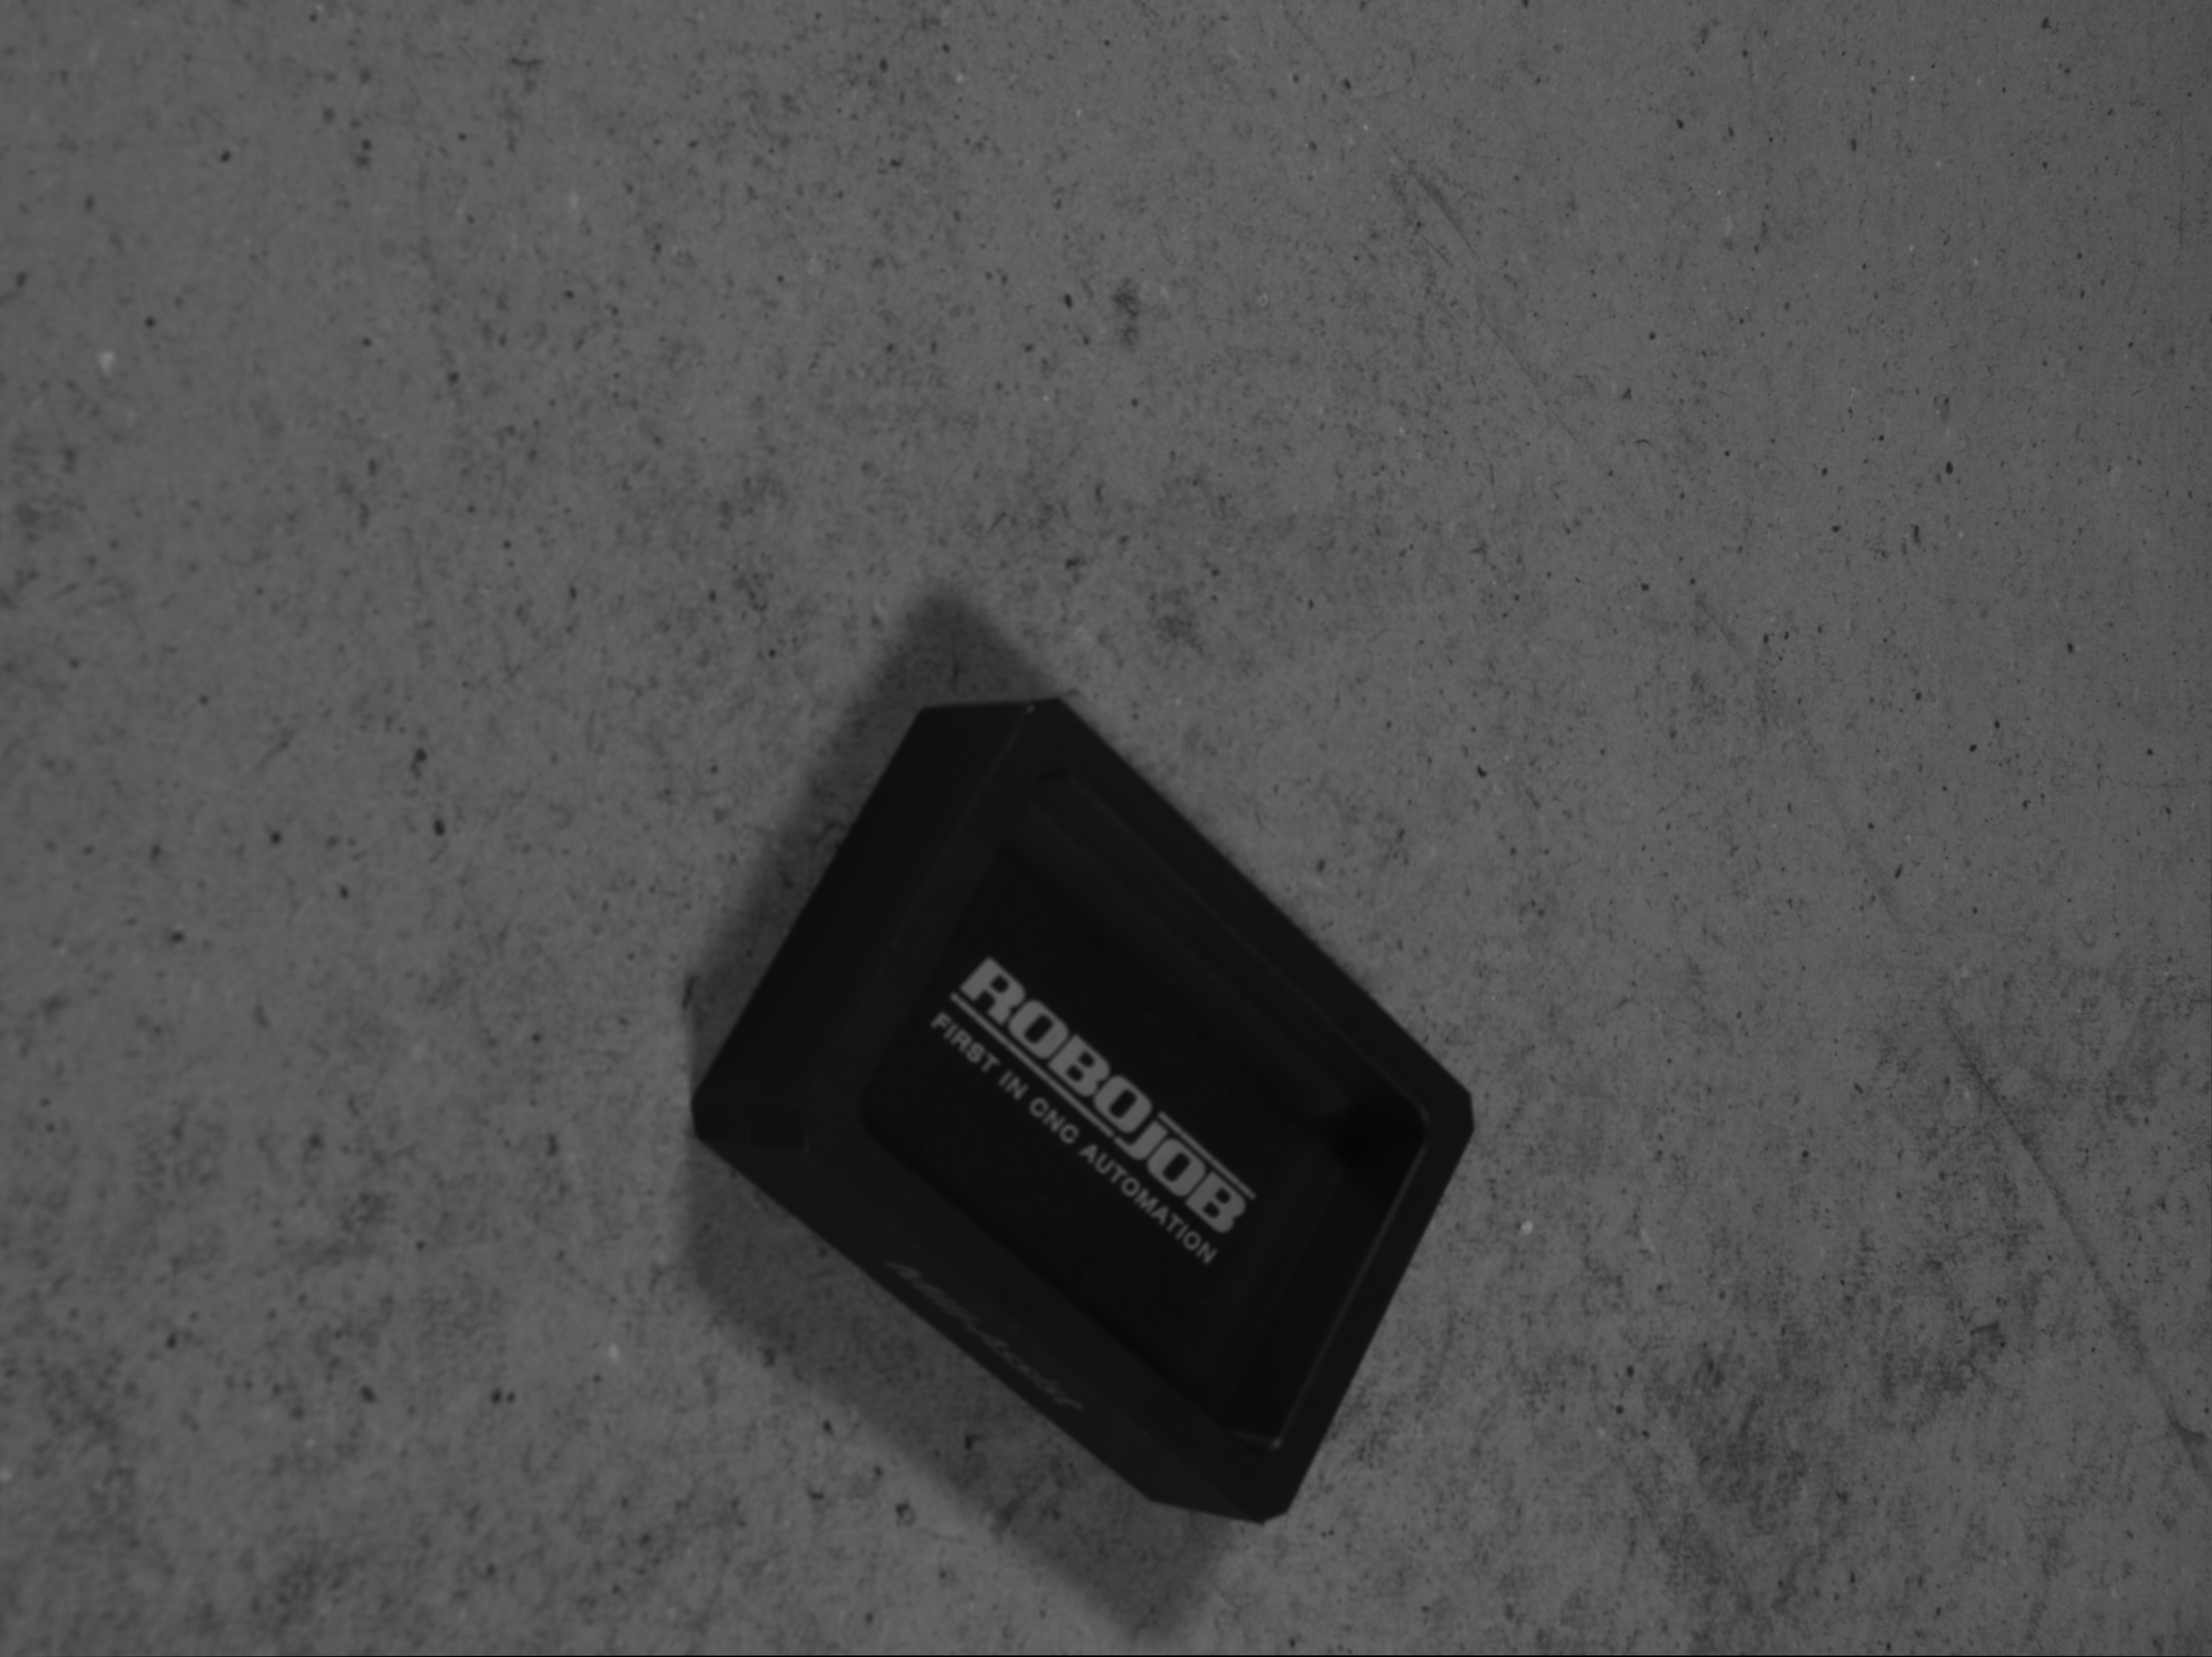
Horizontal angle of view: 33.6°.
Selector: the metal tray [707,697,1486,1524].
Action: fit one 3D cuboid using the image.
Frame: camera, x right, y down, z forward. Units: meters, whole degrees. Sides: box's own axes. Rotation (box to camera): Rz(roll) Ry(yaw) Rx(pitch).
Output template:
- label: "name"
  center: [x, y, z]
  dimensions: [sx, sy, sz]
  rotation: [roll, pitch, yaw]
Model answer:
- label: "metal tray"
  center: [0.002, 0.050, 0.636]
  dimensions: [0.130, 0.030, 0.090]
  rotation: [43, 64, -31]
